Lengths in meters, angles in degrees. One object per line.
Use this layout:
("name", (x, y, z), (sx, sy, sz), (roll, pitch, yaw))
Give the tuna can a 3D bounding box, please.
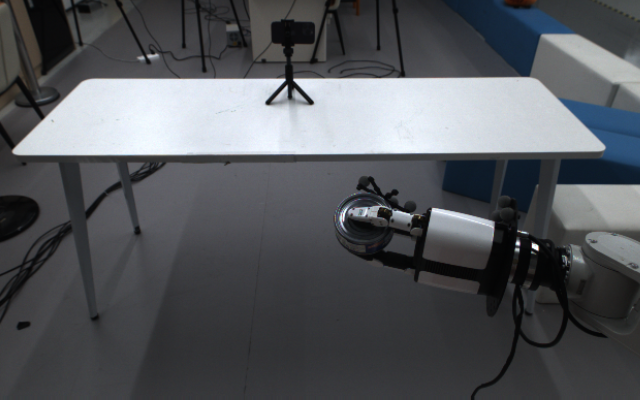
("tuna can", (0.067, 0.038, 0.683), (0.085, 0.034, 0.085), (-4, 58, 6))
